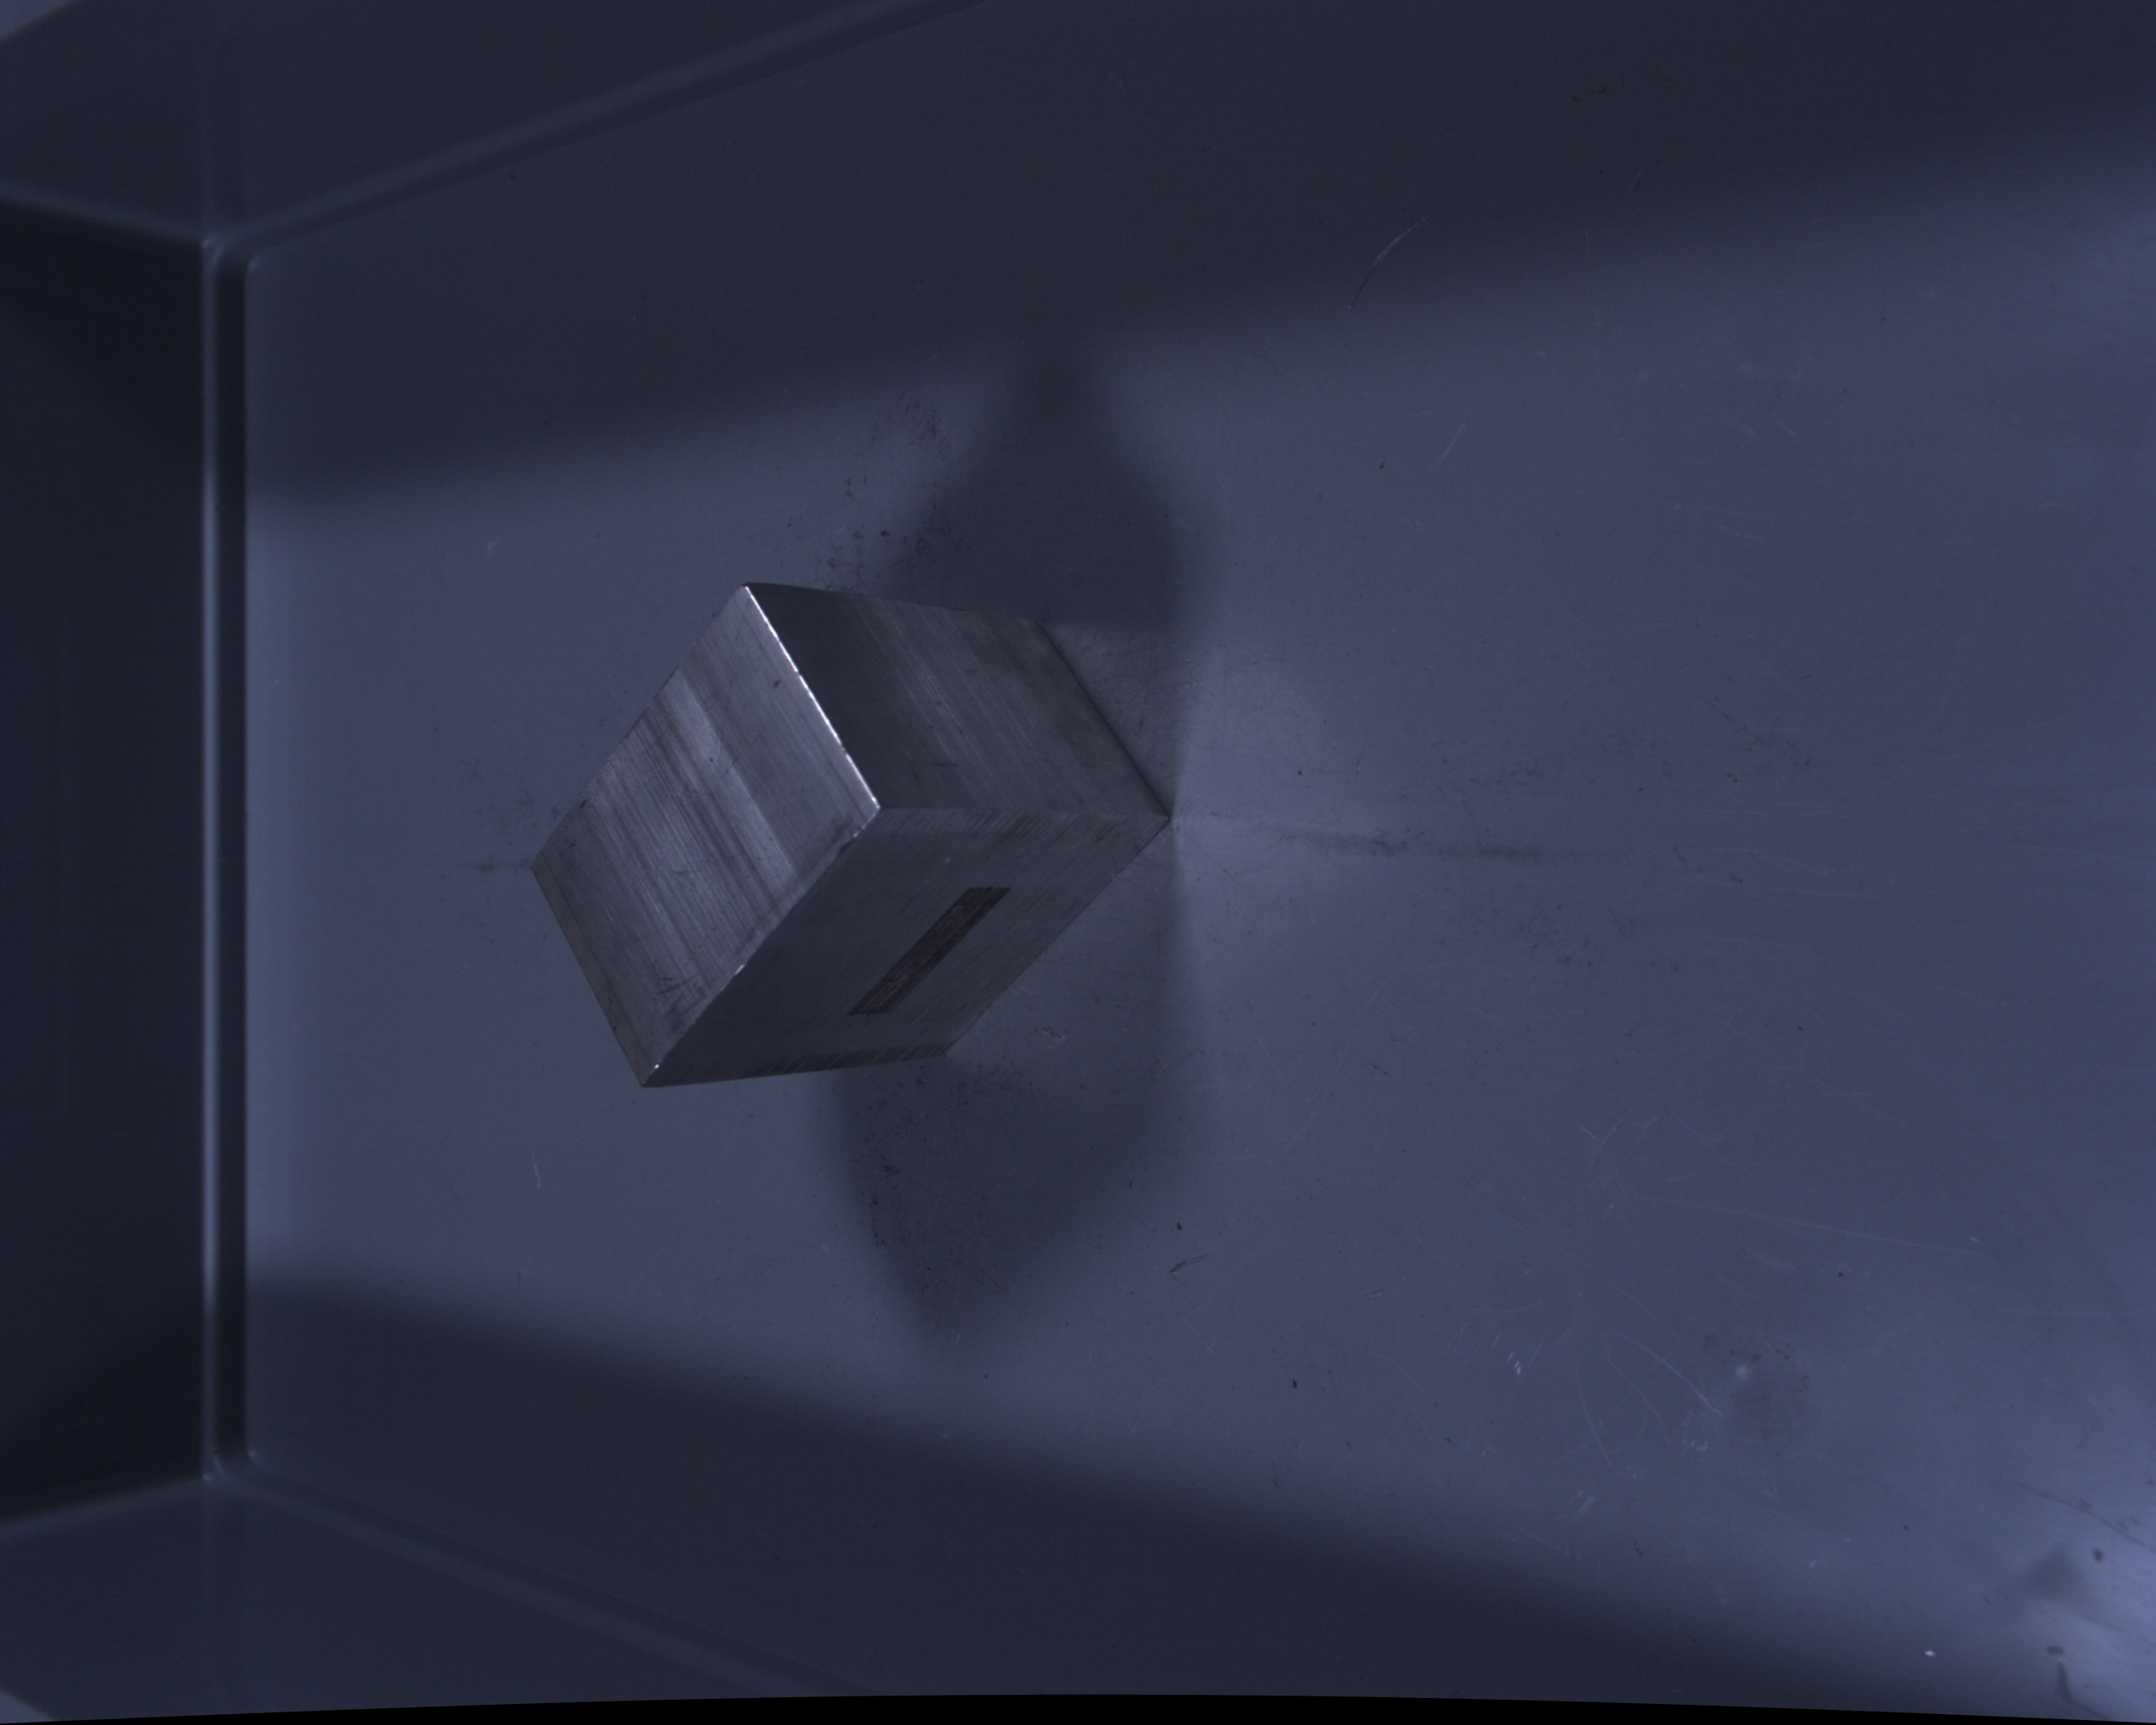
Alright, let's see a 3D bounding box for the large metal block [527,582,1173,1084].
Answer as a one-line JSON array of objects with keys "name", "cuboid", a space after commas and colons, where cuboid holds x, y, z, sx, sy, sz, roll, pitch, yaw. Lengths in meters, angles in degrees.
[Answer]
[{"name": "large metal block", "cuboid": [-0.044, -0.004, 0.401, 0.080, 0.081, 0.050, -47, 62, 29]}]
